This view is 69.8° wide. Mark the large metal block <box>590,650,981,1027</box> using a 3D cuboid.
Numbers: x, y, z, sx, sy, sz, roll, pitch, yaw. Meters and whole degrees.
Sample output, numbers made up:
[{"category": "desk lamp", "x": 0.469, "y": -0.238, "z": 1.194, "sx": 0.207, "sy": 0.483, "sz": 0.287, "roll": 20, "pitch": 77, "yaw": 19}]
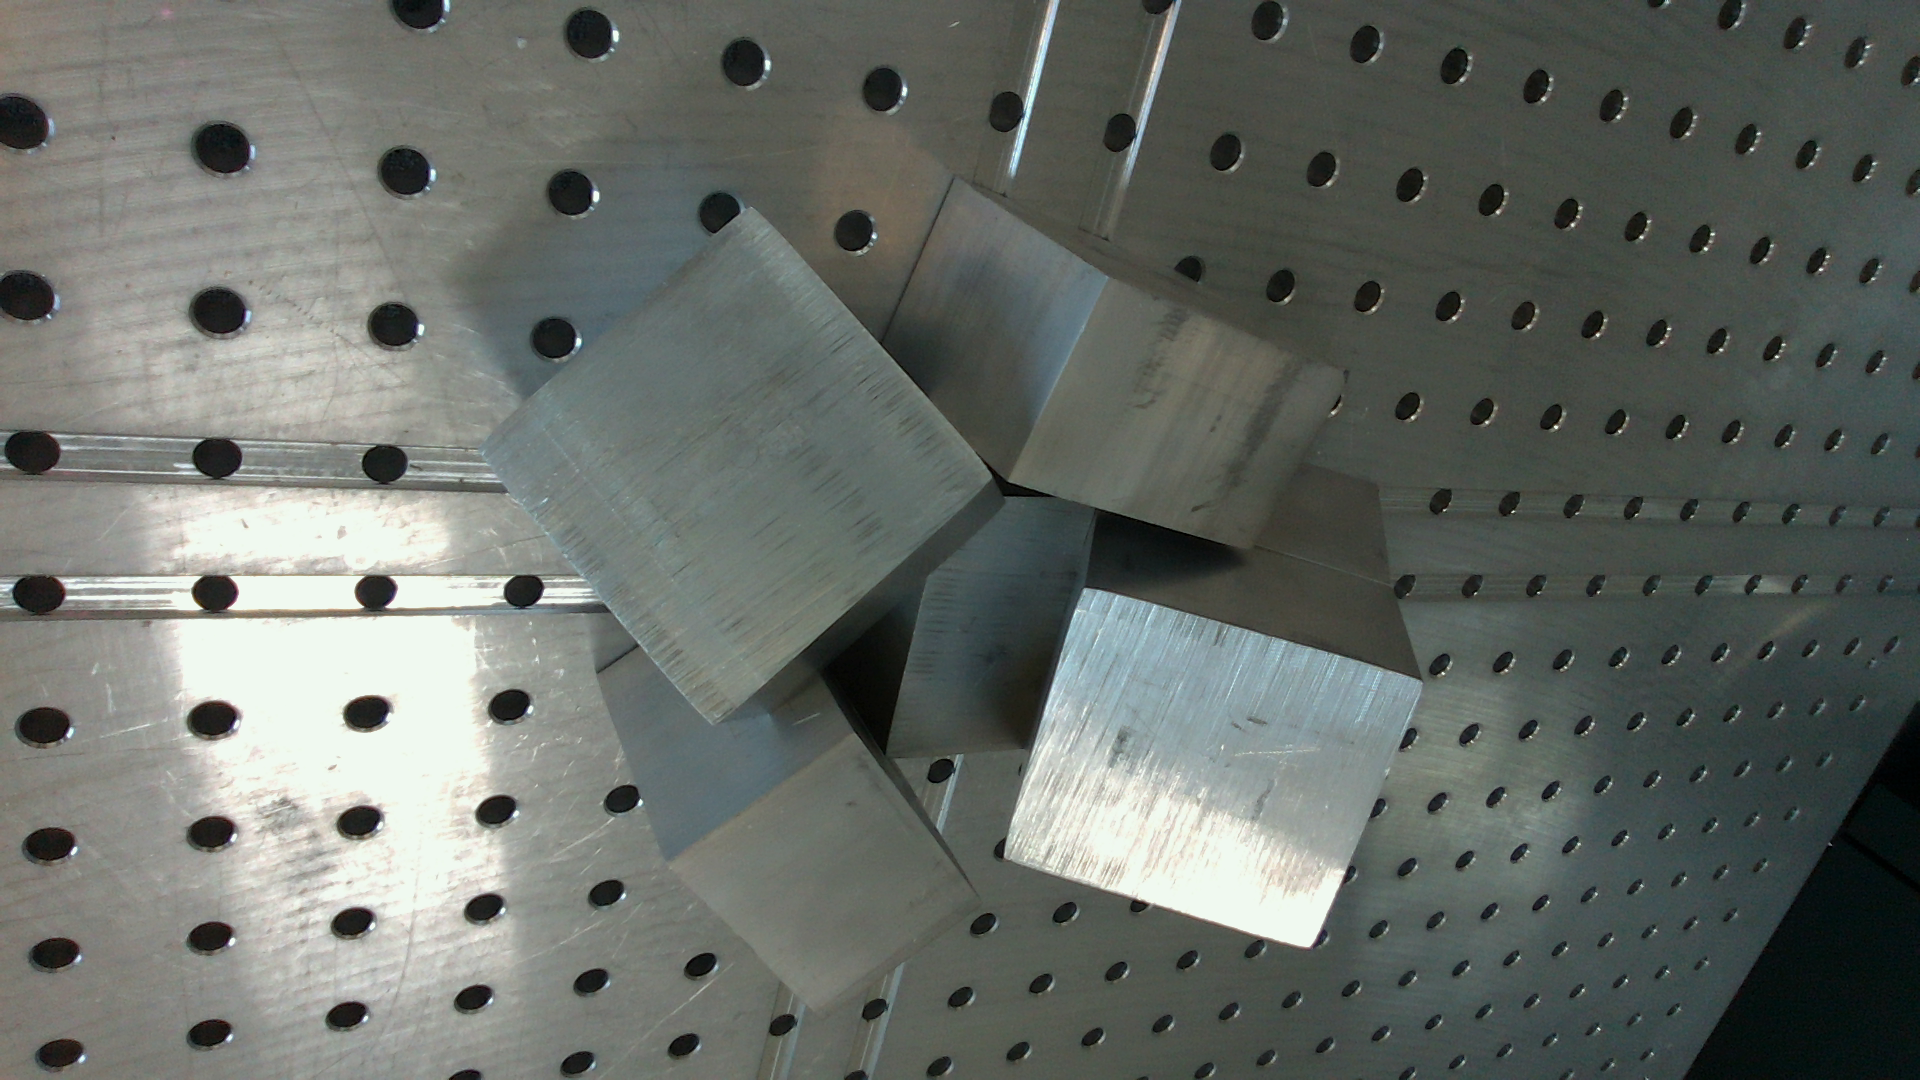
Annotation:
[{"category": "large metal block", "x": -0.048, "y": 0.069, "z": 0.371, "sx": 0.050, "sy": 0.080, "sz": 0.080, "roll": -35, "pitch": 129, "yaw": -6}]

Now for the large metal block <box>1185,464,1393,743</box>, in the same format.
[{"category": "large metal block", "x": 0.087, "y": 0.025, "z": 0.408, "sx": 0.050, "sy": 0.080, "sz": 0.080, "roll": 16, "pitch": 114, "yaw": 6}]

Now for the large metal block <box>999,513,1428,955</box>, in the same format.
[{"category": "large metal block", "x": 0.061, "y": 0.047, "z": 0.348, "sx": 0.080, "sy": 0.050, "sz": 0.080, "roll": 15, "pitch": 114, "yaw": 2}]

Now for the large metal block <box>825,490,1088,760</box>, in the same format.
[{"category": "large metal block", "x": 0.011, "y": 0.013, "z": 0.390, "sx": 0.080, "sy": 0.050, "sz": 0.080, "roll": 1, "pitch": 118, "yaw": -29}]

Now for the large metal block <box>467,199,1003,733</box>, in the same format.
[{"category": "large metal block", "x": -0.047, "y": -0.014, "z": 0.314, "sx": 0.080, "sy": 0.080, "sz": 0.050, "roll": -42, "pitch": 174, "yaw": 0}]

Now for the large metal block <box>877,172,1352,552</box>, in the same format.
[{"category": "large metal block", "x": 0.036, "y": -0.045, "z": 0.349, "sx": 0.080, "sy": 0.080, "sz": 0.050, "roll": 14, "pitch": 111, "yaw": -34}]
